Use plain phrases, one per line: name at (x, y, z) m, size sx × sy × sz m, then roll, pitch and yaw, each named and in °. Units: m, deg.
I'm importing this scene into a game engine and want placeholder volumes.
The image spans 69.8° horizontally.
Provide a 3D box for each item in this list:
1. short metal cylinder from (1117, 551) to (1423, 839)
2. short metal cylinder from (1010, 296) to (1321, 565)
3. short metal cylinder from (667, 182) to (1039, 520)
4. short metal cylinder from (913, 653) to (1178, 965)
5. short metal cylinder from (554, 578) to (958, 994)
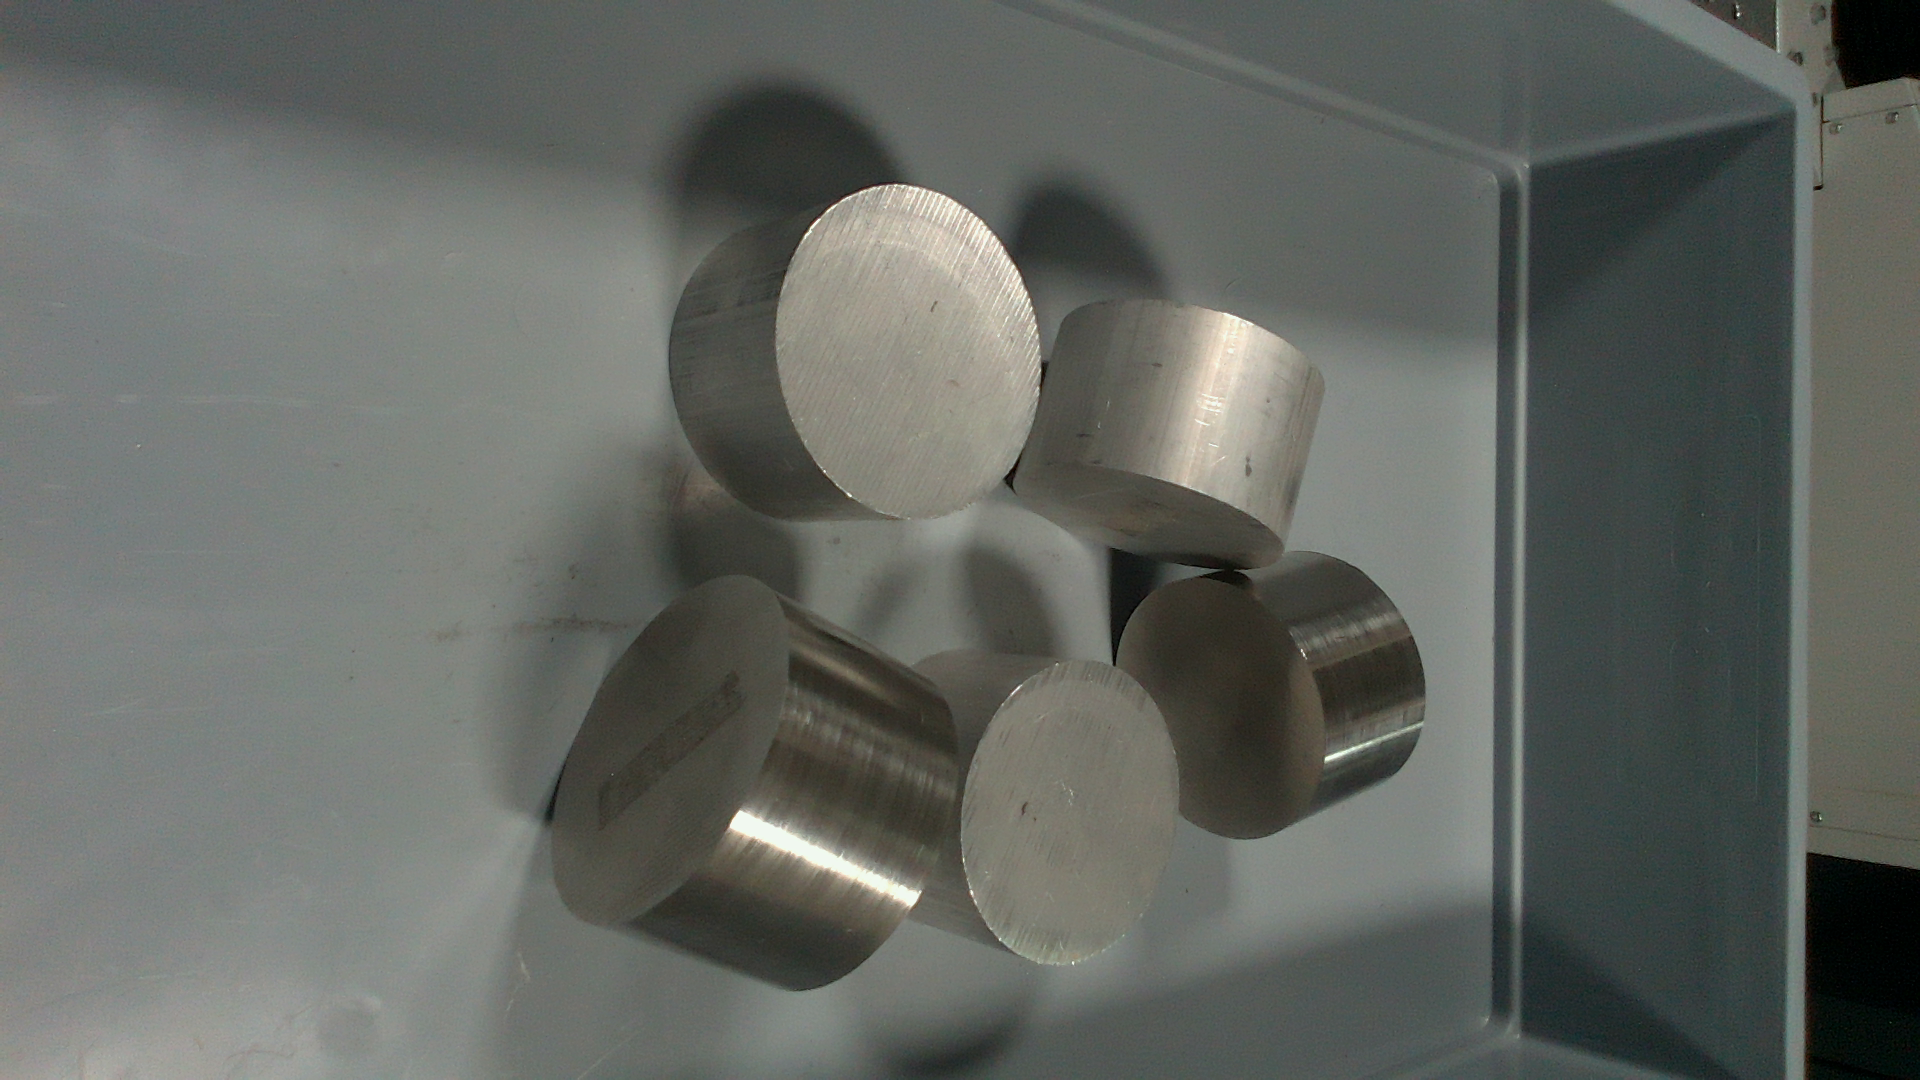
short metal cylinder at (0.095, 0.047, 0.431) m, size 0.050 × 0.080 × 0.080 m, roll -12°, pitch 97°, yaw -39°
short metal cylinder at (0.060, -0.030, 0.403) m, size 0.080 × 0.080 × 0.050 m, roll 27°, pitch 73°, yaw -36°
short metal cylinder at (-0.026, -0.045, 0.349) m, size 0.080 × 0.050 × 0.080 m, roll 0°, pitch 90°, yaw -40°
short metal cylinder at (0.015, 0.072, 0.383) m, size 0.080 × 0.050 × 0.080 m, roll 0°, pitch 90°, yaw -40°
short metal cylinder at (-0.047, 0.056, 0.312) m, size 0.050 × 0.080 × 0.080 m, roll 33°, pitch 69°, yaw -35°
